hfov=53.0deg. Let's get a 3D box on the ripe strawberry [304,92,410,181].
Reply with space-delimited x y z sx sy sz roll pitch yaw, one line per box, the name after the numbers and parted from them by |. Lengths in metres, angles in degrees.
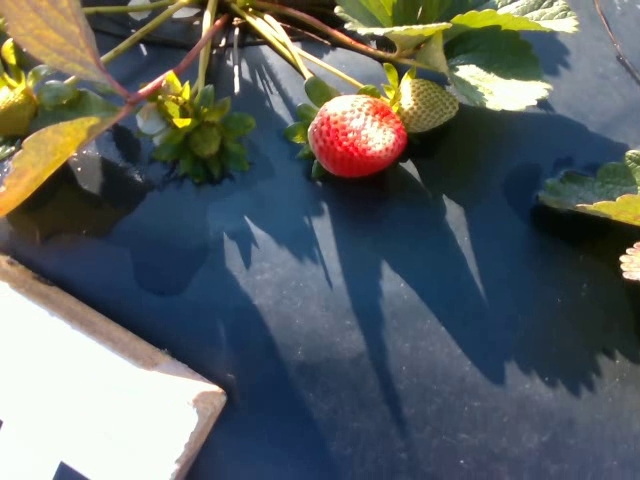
0.016 -0.032 0.207 0.042 0.037 0.045 9 6 -18 | ripe strawberry
